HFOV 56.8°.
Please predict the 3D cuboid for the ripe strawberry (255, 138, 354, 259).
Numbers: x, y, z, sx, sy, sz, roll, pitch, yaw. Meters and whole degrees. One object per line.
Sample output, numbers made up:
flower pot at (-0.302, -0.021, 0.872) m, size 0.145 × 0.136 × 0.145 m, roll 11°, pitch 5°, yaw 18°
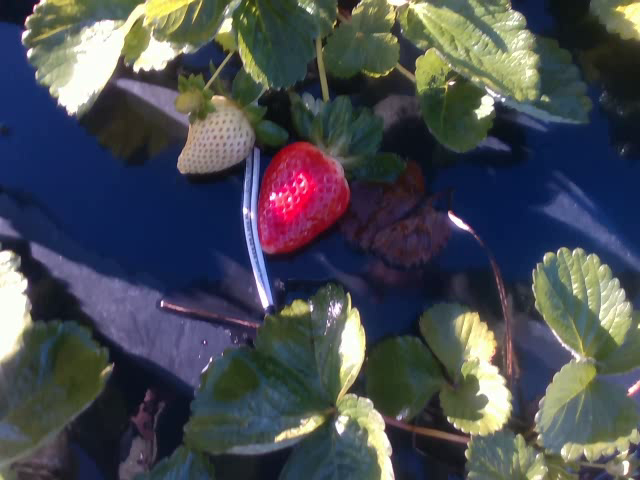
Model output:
ripe strawberry at (-0.007, -0.022, 0.315) m, size 0.063 × 0.080 × 0.040 m, roll 46°, pitch -25°, yaw -26°
